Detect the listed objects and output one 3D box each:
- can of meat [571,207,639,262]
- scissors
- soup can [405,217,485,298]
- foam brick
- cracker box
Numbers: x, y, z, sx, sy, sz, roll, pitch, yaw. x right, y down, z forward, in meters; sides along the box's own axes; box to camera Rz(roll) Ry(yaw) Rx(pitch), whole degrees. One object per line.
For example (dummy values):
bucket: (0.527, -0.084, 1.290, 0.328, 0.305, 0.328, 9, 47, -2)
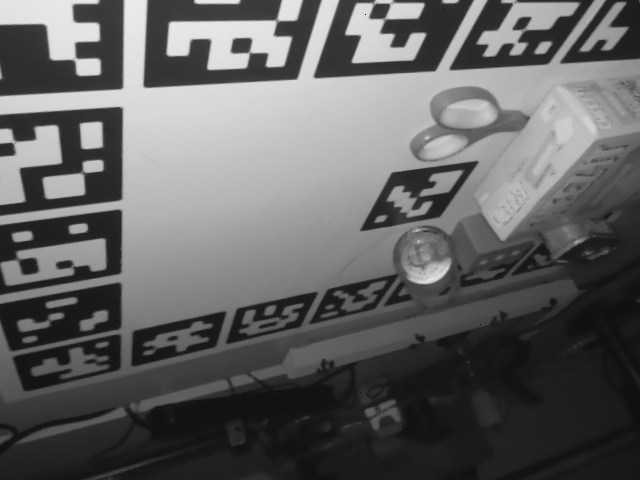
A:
can of meat: (0.323, -0.026, 0.779, 0.103, 0.084, 0.057, 0, 142, -31)
scissors: (0.191, -0.122, 0.596, 0.205, 0.016, 0.086, -12, 147, -17)
soup can: (0.141, 0.022, 0.771, 0.067, 0.068, 0.102, -30, 153, 12)
foam brick: (0.222, -0.007, 0.780, 0.079, 0.051, 0.052, -15, 147, -12)
cracker box: (0.302, -0.095, 0.648, 0.216, 0.072, 0.162, -16, 149, -18)
